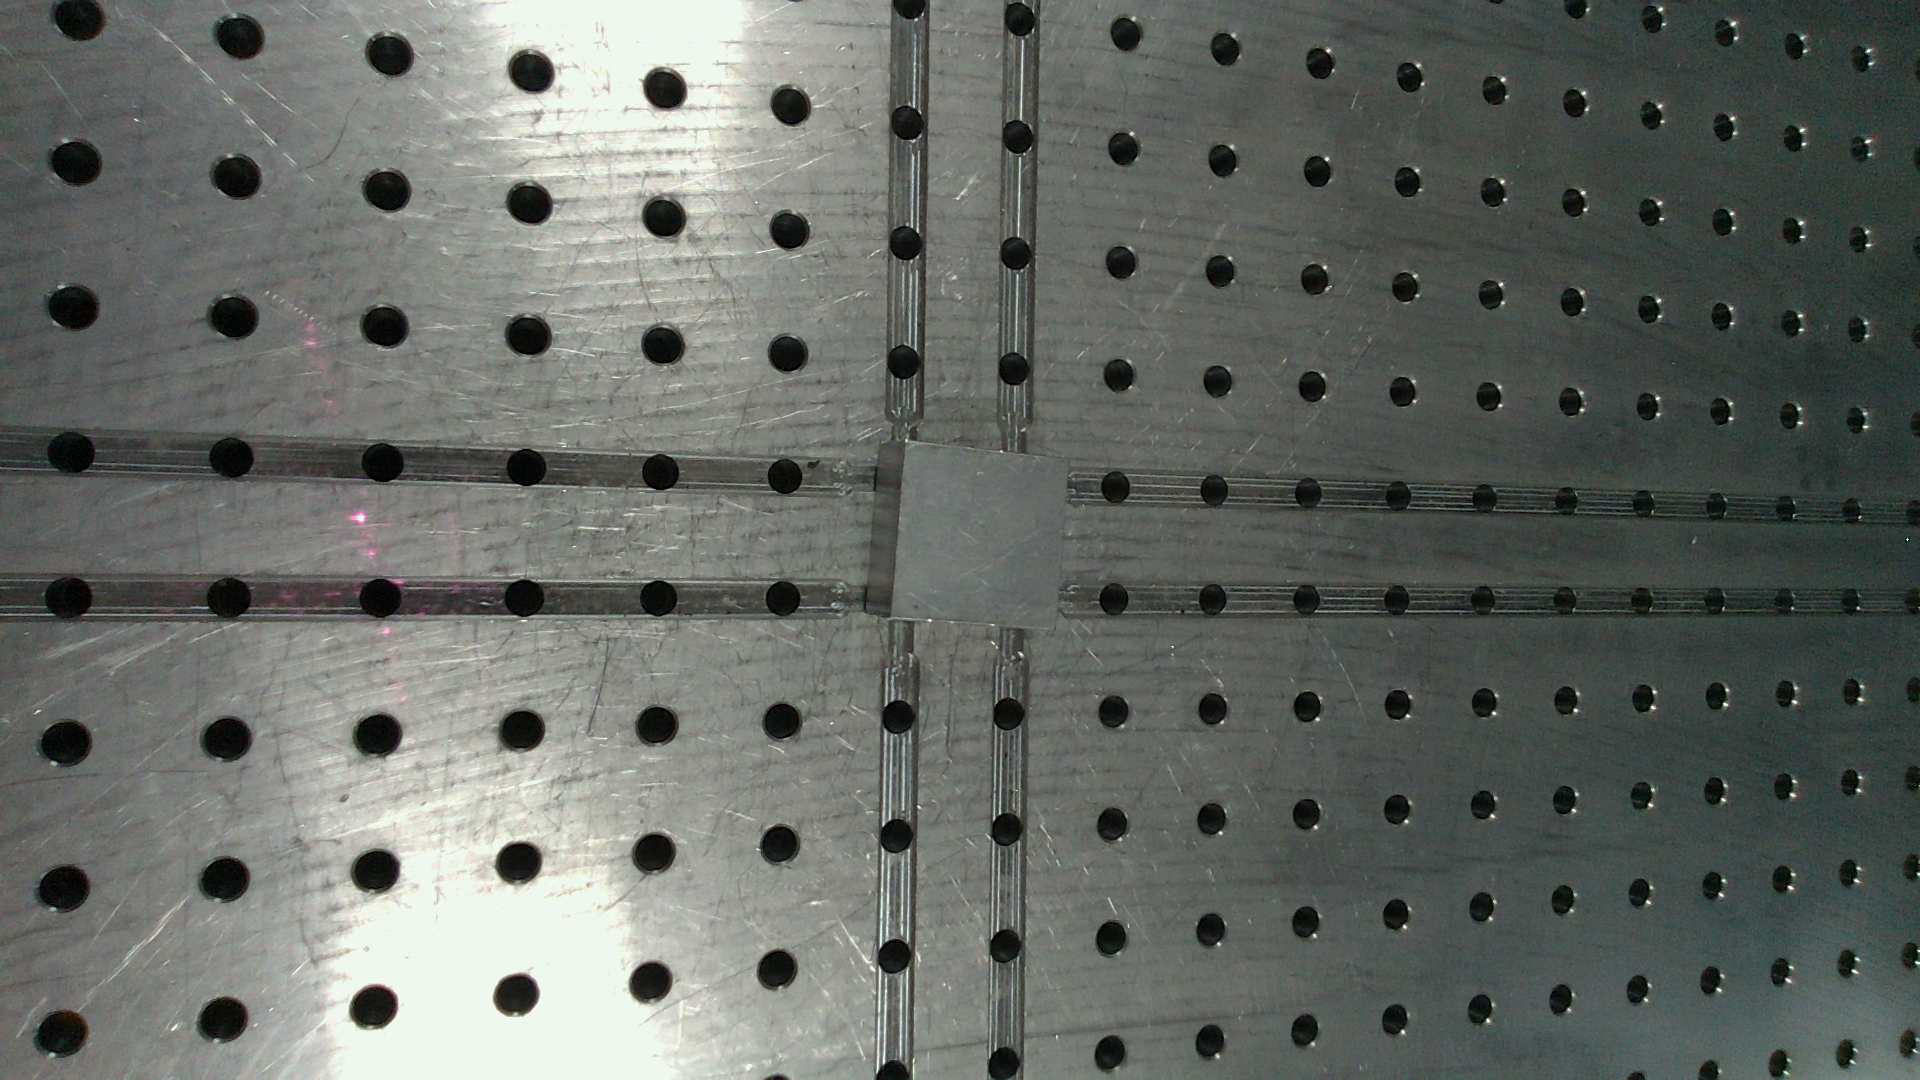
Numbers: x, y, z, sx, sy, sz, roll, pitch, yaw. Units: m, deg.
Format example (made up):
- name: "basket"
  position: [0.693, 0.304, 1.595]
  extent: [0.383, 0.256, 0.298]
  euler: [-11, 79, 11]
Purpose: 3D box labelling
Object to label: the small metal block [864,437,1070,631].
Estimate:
- name: "small metal block"
  position: [0.002, -0.001, 0.396]
  extent: [0.050, 0.025, 0.050]
  euler: [5, 88, -20]
